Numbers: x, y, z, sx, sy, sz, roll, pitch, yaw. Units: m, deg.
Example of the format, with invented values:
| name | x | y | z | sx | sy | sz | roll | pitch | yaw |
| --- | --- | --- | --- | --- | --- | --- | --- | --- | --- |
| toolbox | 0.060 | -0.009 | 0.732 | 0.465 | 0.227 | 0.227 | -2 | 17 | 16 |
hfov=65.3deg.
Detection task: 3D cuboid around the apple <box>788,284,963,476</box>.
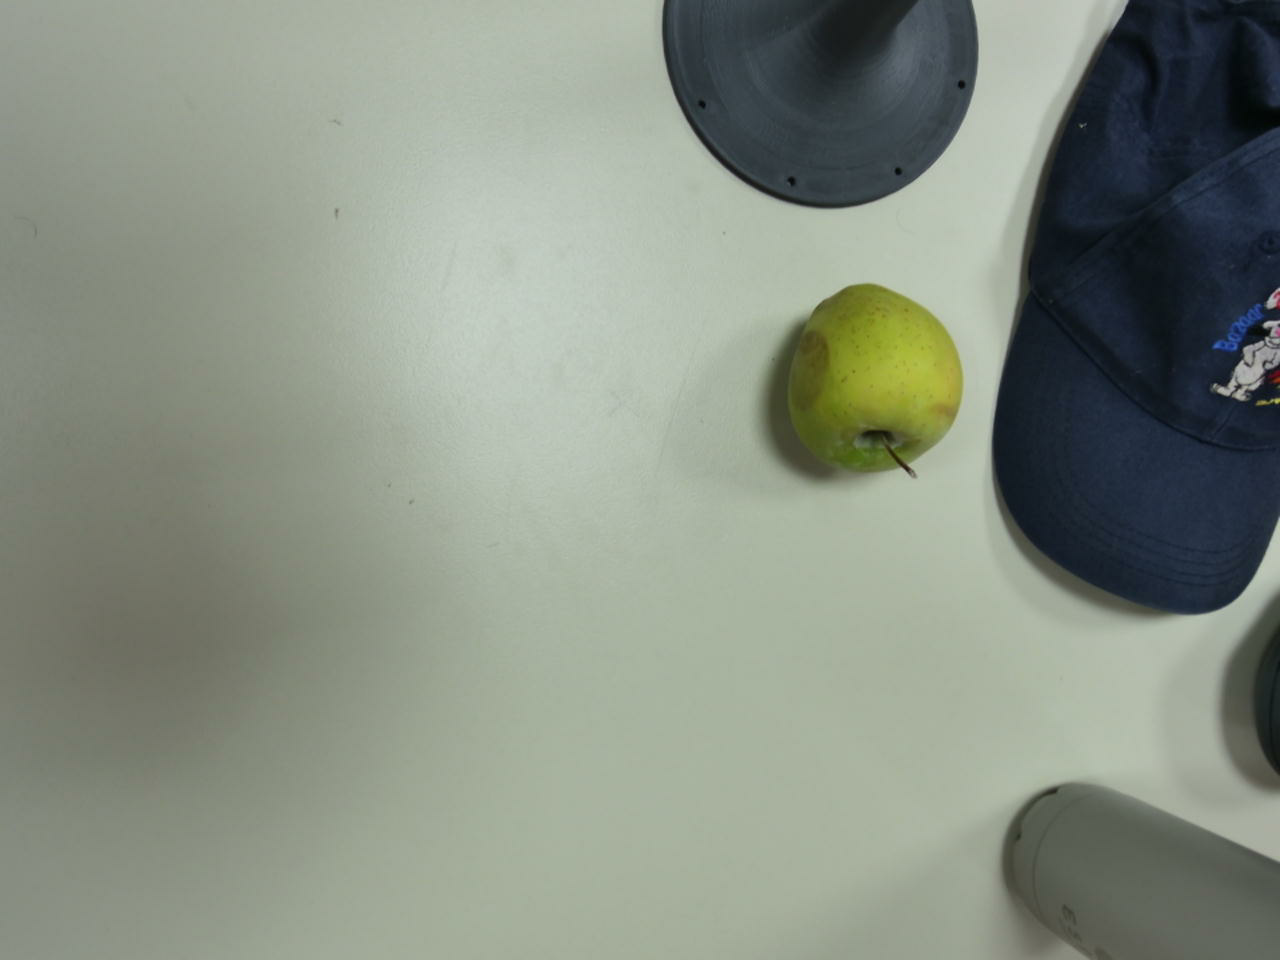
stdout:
| name | x | y | z | sx | sy | sz | roll | pitch | yaw |
| --- | --- | --- | --- | --- | --- | --- | --- | --- | --- |
| apple | 0.098 | -0.041 | 0.419 | 0.072 | 0.075 | 0.077 | 35 | 84 | -10 |
